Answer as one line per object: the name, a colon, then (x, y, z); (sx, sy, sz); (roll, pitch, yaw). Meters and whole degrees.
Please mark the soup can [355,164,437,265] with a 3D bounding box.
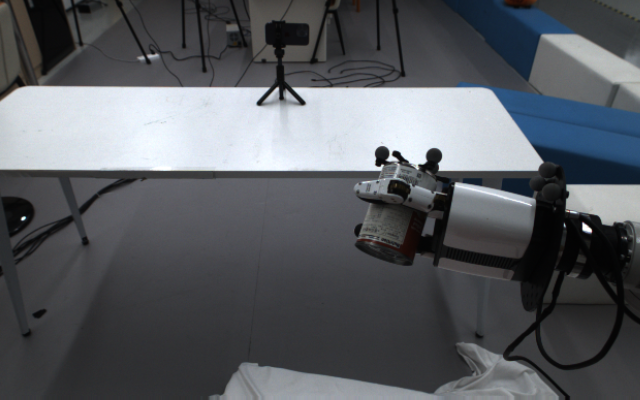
soup can: (0.088, 0.013, 0.552); (0.067, 0.067, 0.101); (16, 74, 19)
